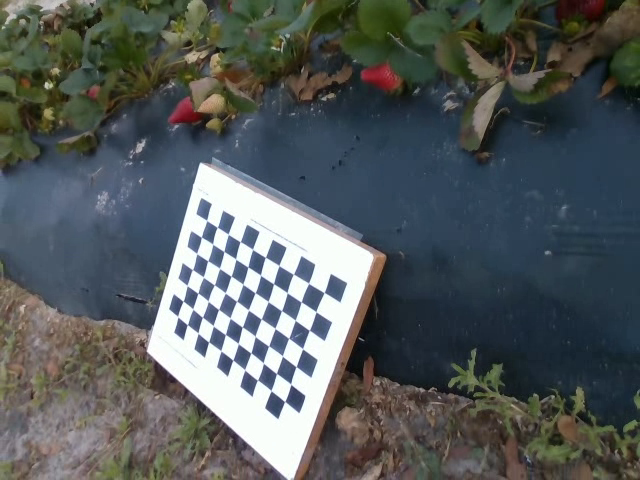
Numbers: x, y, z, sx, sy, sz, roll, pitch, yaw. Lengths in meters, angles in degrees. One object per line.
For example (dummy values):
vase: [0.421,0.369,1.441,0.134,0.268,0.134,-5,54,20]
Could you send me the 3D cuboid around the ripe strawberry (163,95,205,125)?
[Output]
ripe strawberry: [-0.193,-0.184,0.877,0.050,0.034,0.059,15,49,41]
